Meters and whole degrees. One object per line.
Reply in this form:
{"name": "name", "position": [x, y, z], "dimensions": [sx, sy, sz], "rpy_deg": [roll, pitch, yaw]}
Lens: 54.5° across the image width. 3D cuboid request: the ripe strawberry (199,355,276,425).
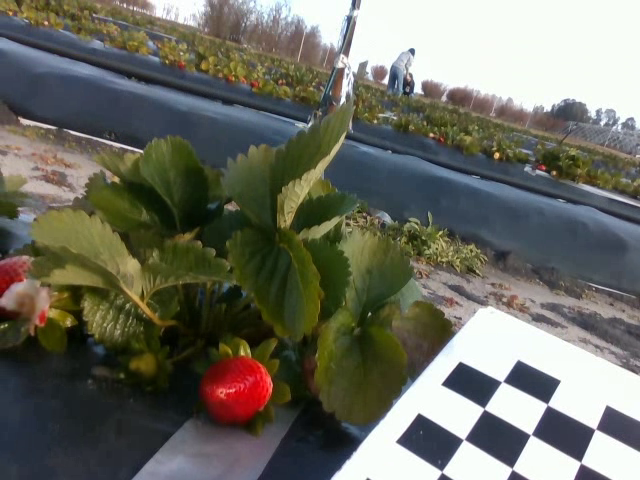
{"name": "ripe strawberry", "position": [-0.042, 0.070, 0.295], "dimensions": [0.050, 0.036, 0.055], "rpy_deg": [28, 18, 19]}
